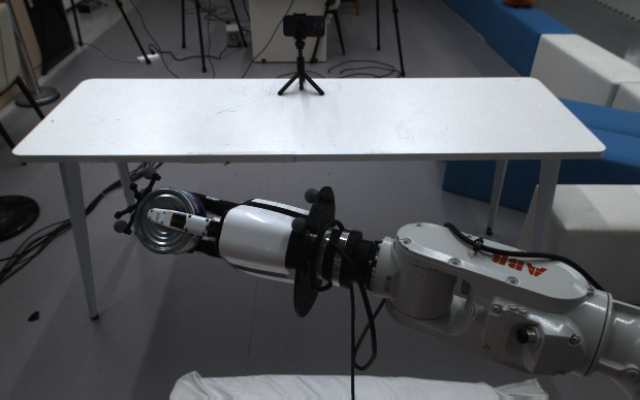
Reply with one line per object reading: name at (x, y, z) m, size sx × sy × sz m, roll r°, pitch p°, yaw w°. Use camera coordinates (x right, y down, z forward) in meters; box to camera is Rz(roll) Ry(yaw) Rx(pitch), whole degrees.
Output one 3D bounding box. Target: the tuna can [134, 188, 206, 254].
tuna can at (-0.189, 0.031, 0.616) m, size 0.085 × 0.085 × 0.034 m, roll 10°, pitch -3°, yaw 11°
